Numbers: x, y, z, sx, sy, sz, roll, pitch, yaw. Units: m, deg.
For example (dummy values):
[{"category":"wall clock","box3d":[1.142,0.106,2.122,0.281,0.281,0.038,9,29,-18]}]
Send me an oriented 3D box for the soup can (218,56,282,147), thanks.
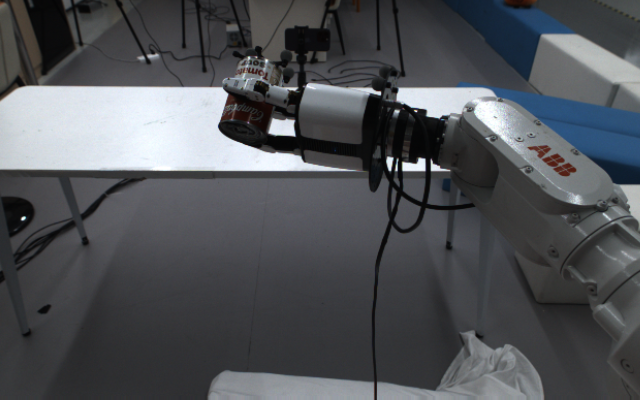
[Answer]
[{"category":"soup can","box3d":[-0.093,-0.135,0.667,0.067,0.067,0.101,9,72,10]}]
